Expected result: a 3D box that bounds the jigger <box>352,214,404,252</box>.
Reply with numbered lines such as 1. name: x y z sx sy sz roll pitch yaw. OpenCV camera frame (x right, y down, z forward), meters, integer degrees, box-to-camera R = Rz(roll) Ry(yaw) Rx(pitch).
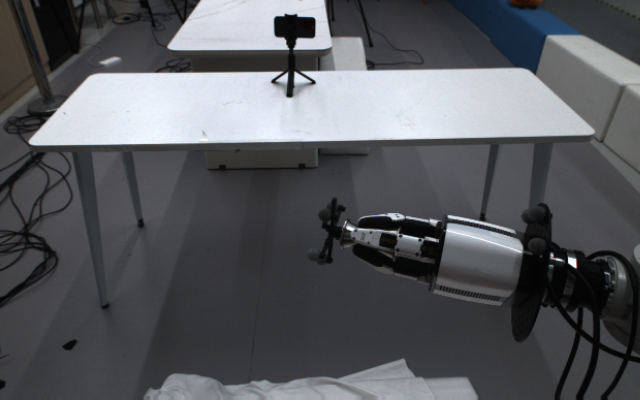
1. jigger: 0.069 0.044 0.598 0.071 0.043 0.043 10 35 16
